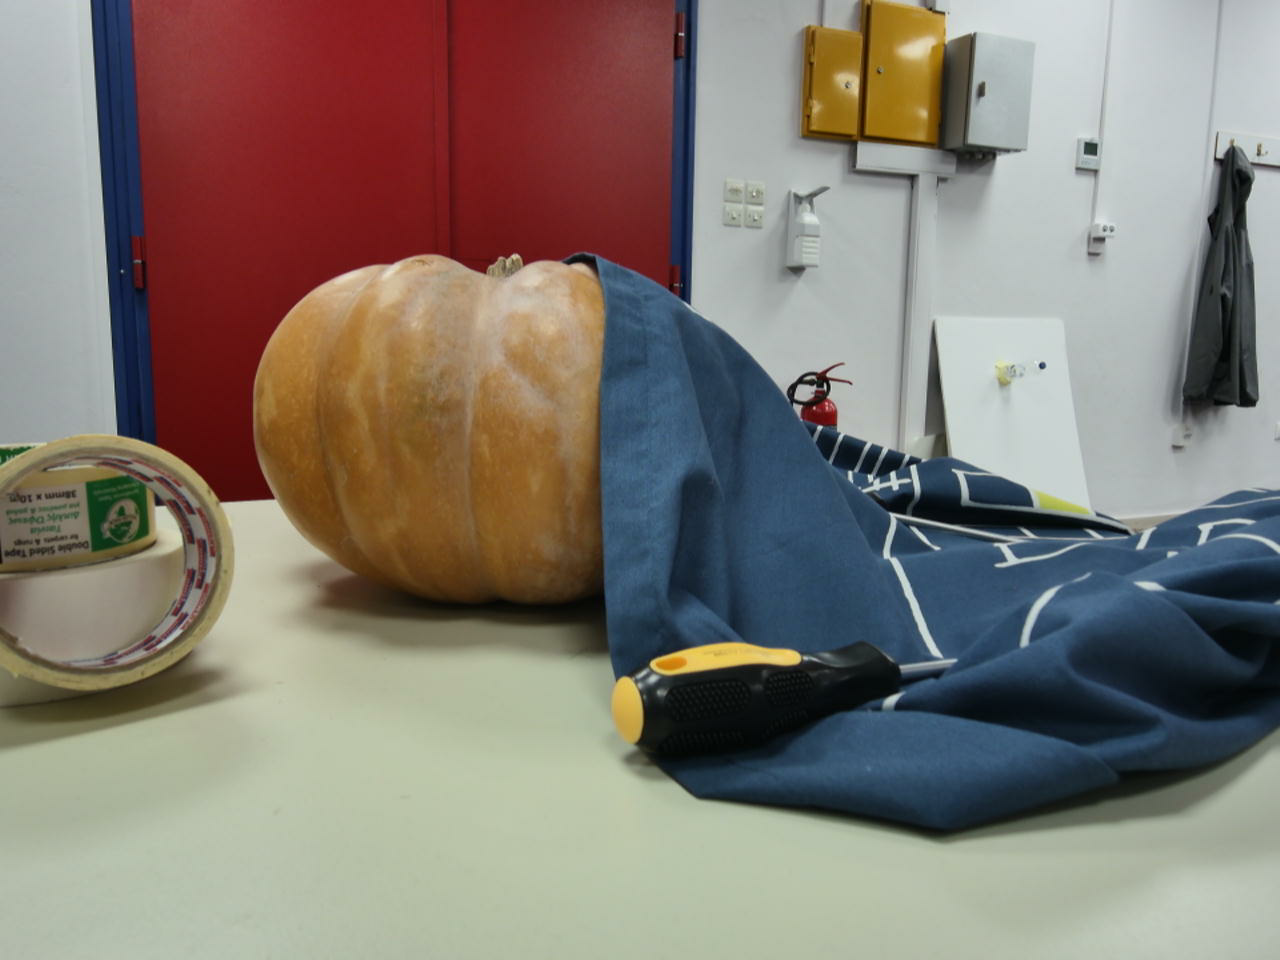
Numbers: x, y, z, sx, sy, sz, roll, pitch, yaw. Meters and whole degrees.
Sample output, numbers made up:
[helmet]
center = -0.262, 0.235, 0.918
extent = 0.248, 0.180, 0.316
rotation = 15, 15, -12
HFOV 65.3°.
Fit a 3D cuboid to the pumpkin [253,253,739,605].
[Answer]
[pumpkin]
center = -0.073, -0.031, 0.547
extent = 0.277, 0.181, 0.277
rotation = 0, 7, 0
